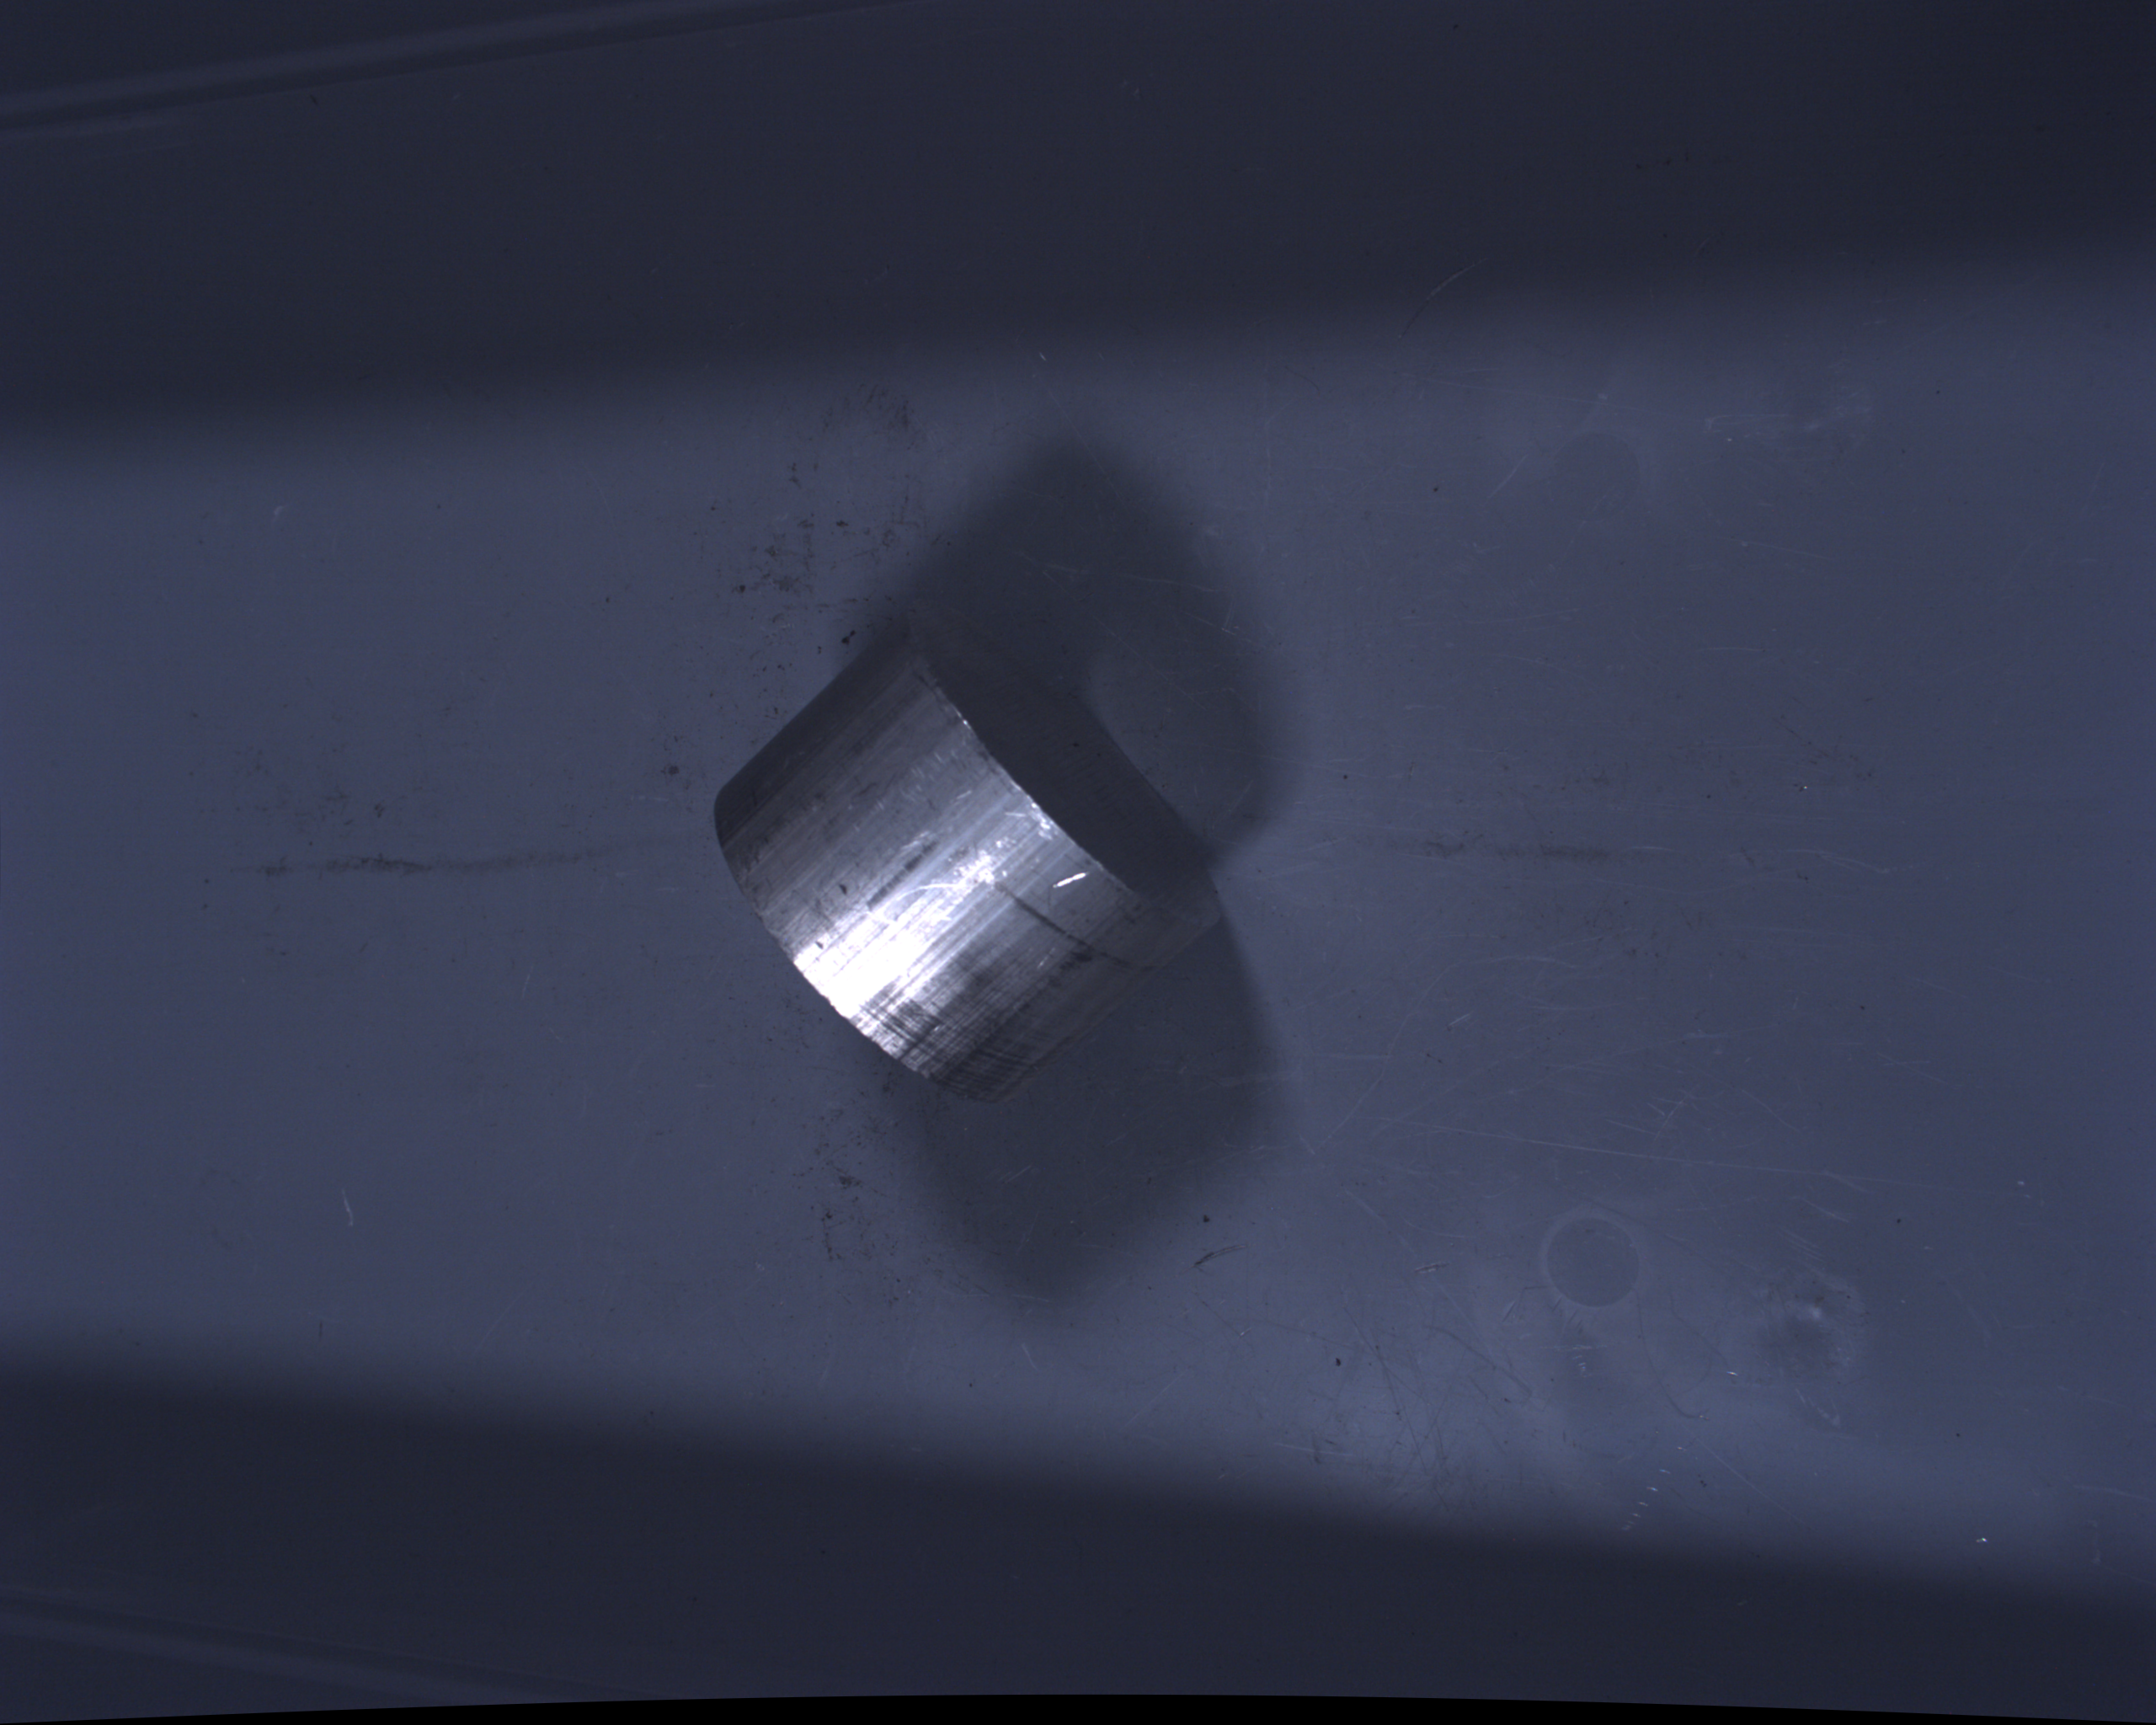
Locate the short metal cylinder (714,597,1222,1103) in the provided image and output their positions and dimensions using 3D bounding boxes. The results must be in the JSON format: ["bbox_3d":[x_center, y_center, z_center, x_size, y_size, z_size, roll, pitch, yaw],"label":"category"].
[{"bbox_3d":[-0.019,-0.003,0.385,0.050,0.080,0.080,-43,77,15],"label":"short metal cylinder"}]
